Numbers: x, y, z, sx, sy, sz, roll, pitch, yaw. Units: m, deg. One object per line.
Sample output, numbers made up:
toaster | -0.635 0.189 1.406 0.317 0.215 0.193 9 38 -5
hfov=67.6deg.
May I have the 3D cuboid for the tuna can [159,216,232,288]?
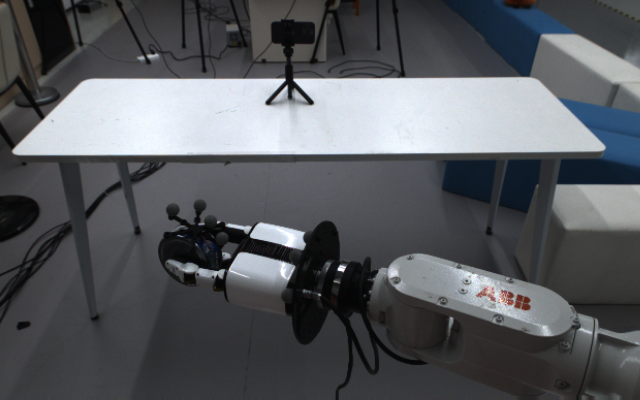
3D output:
tuna can | -0.180 0.078 0.675 0.085 0.085 0.034 15 31 18
